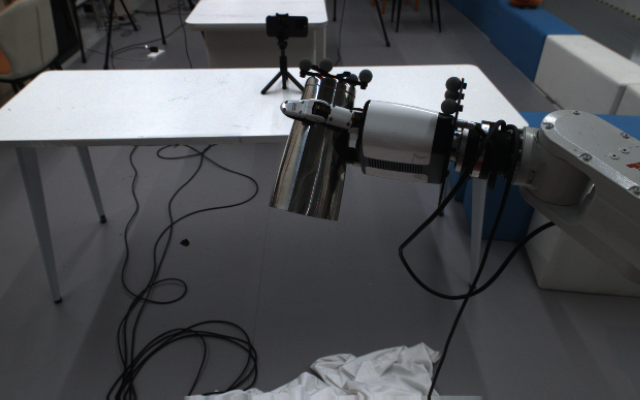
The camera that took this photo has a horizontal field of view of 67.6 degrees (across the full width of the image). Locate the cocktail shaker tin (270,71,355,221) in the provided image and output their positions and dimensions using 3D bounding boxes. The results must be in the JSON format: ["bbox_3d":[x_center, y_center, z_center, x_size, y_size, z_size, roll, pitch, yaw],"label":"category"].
[{"bbox_3d":[0.000,-0.068,0.624,0.093,0.170,0.093,13,1,0],"label":"cocktail shaker tin"}]
